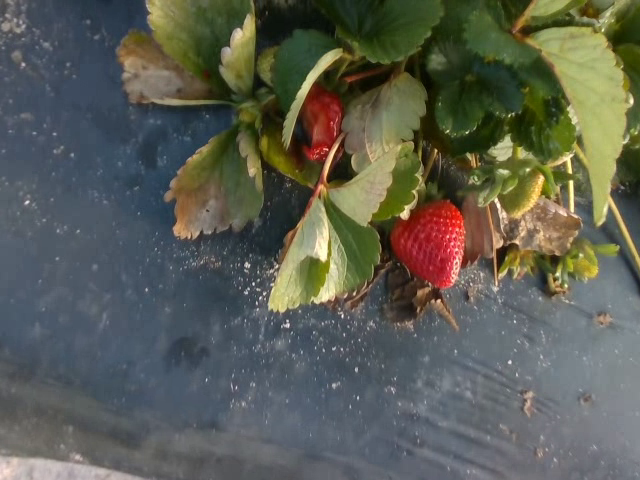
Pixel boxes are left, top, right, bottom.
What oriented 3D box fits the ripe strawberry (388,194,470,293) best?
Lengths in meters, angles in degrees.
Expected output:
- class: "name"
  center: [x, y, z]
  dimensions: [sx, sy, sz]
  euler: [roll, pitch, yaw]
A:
- class: "ripe strawberry"
  center: [0.038, 0.003, 0.218]
  dimensions: [0.031, 0.030, 0.026]
  euler: [-16, -13, -1]
